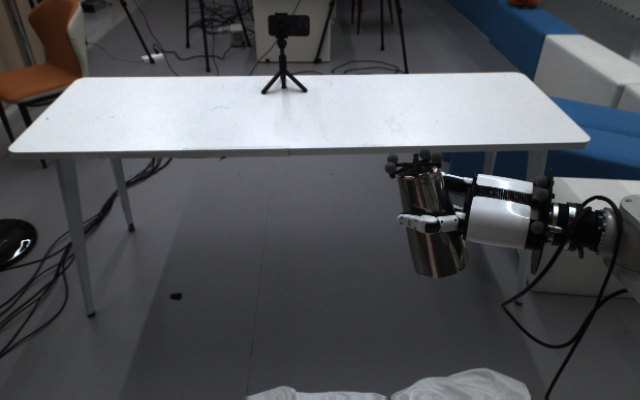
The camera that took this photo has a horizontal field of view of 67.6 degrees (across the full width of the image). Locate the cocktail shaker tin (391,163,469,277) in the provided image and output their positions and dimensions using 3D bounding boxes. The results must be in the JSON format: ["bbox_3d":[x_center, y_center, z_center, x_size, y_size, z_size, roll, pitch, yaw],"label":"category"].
[{"bbox_3d":[0.175,0.027,0.771,0.093,0.170,0.093,-17,21,7],"label":"cocktail shaker tin"}]
